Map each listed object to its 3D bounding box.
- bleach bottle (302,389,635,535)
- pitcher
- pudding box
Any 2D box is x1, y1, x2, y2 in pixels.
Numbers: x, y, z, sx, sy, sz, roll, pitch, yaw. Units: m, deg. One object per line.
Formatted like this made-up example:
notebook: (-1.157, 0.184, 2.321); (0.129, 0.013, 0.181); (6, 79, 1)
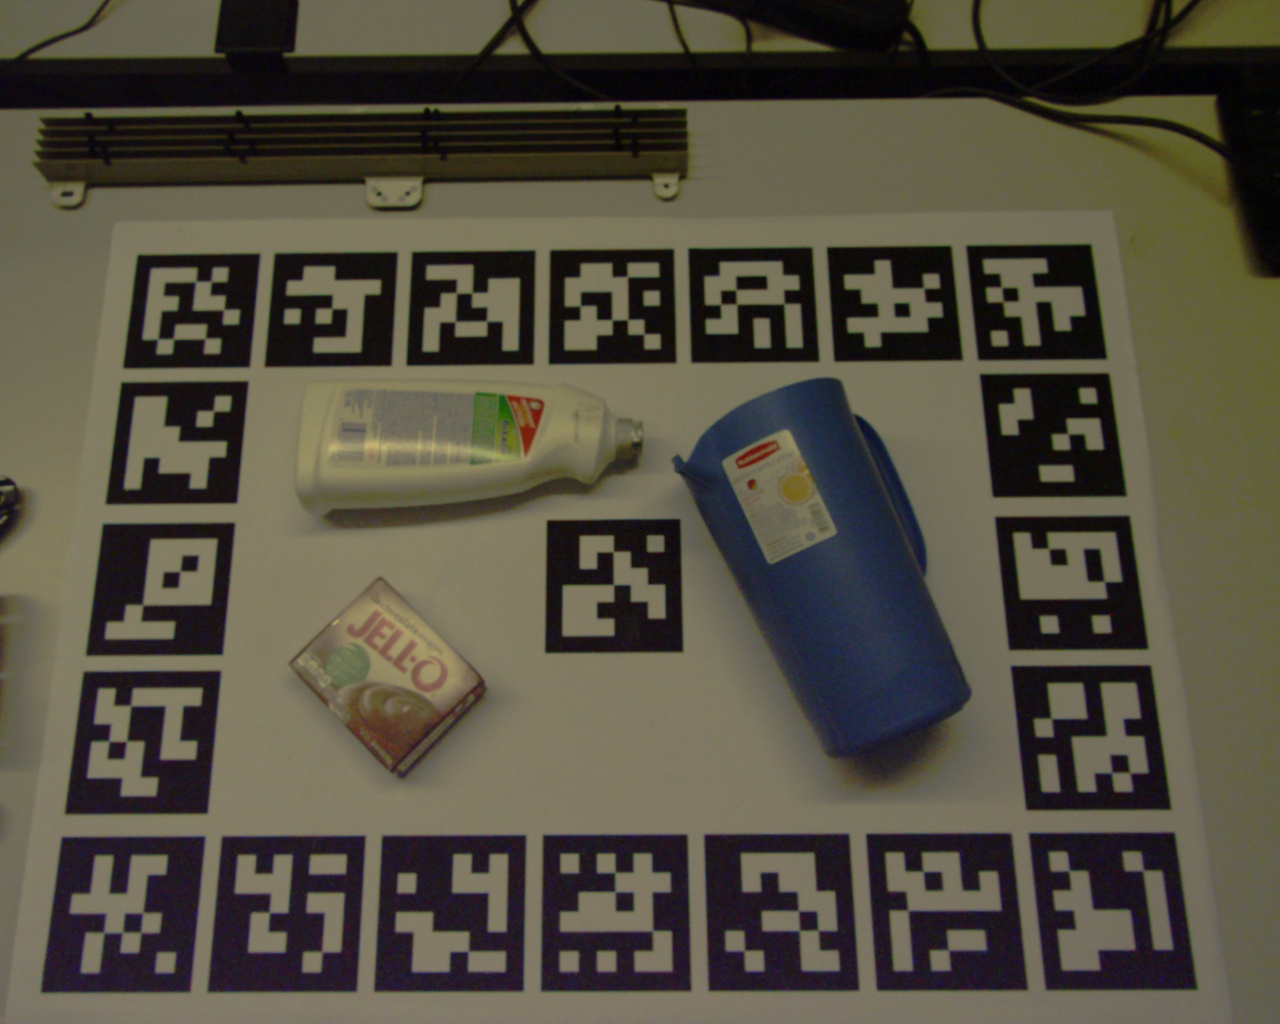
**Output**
bleach bottle: (-0.129, -0.041, 0.882); (0.250, 0.068, 0.103); (-4, 79, -3)
pitcher: (0.134, 0.052, 0.836); (0.186, 0.134, 0.243); (-17, 78, -40)
pudding box: (-0.185, 0.129, 0.841); (0.114, 0.038, 0.089); (44, 73, 10)
